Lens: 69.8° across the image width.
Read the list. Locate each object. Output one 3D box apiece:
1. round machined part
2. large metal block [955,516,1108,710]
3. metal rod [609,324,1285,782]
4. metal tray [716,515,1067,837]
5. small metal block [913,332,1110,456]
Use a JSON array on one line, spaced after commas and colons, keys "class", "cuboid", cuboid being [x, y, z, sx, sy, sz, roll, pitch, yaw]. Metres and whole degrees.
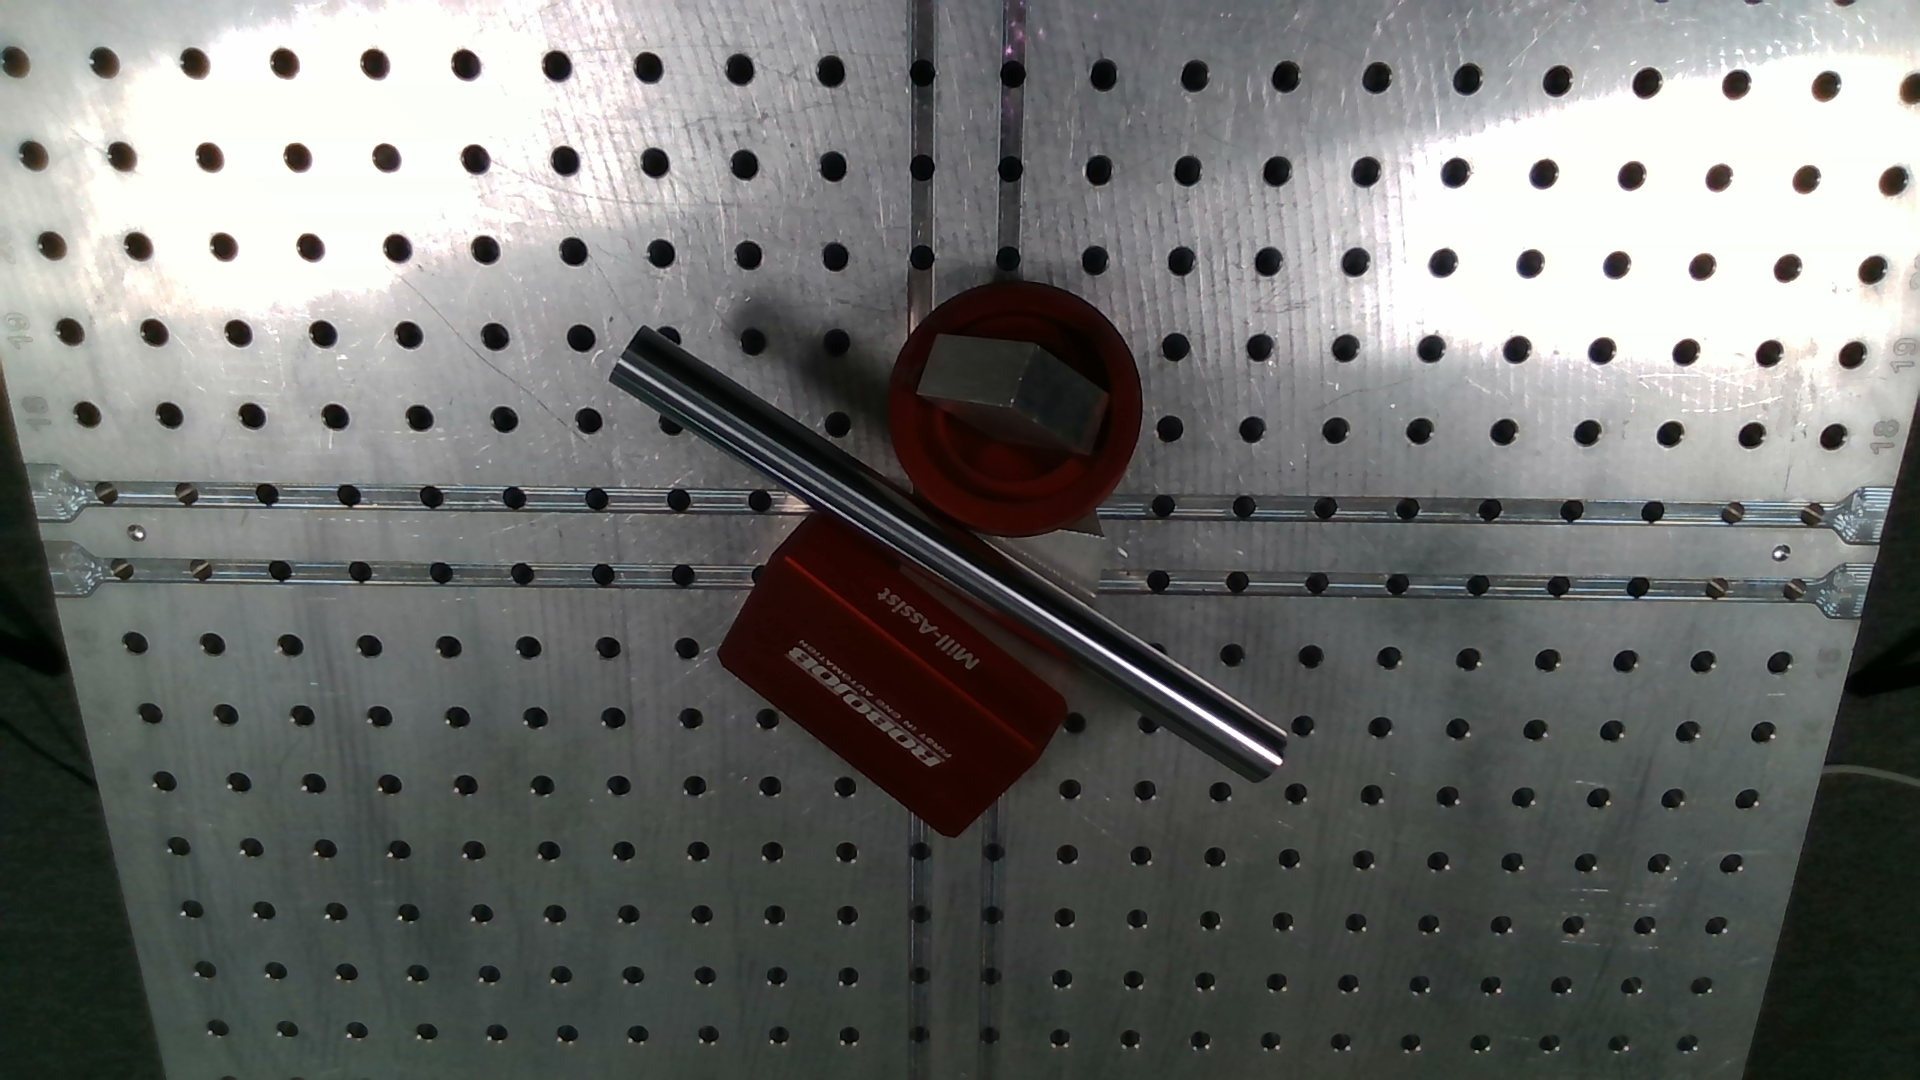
[{"class": "round machined part", "cuboid": [0.021, -0.050, 0.546, 0.098, 0.042, 0.098, 0, 85, 3]}, {"class": "large metal block", "cuboid": [0.013, 0.021, 0.581, 0.080, 0.050, 0.080, 8, 110, -3]}, {"class": "metal rod", "cuboid": [0.001, 0.010, 0.537, 0.300, 0.025, 0.025, 32, 107, -11]}, {"class": "metal tray", "cuboid": [-0.031, 0.058, 0.570, 0.130, 0.030, 0.090, 38, 138, 1]}, {"class": "small metal block", "cuboid": [0.020, -0.056, 0.523, 0.050, 0.050, 0.025, 27, 81, -46]}]
